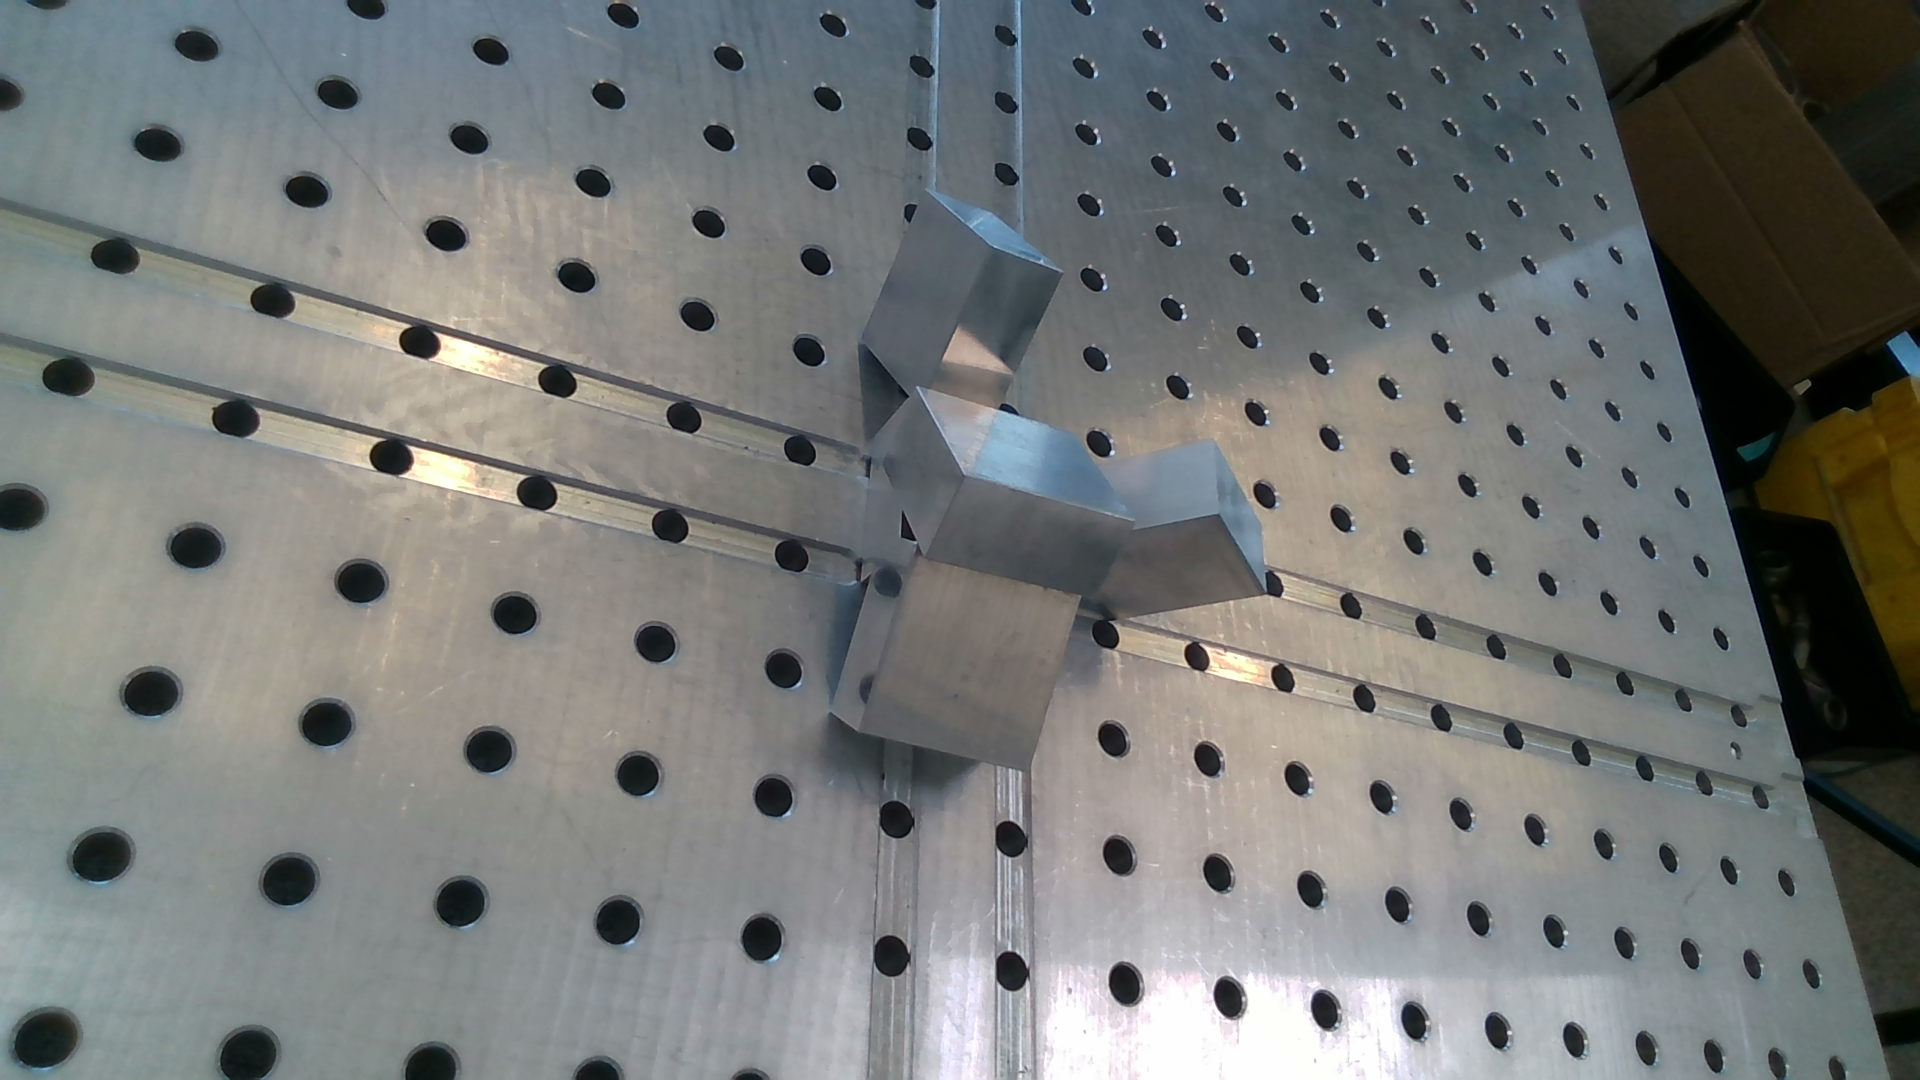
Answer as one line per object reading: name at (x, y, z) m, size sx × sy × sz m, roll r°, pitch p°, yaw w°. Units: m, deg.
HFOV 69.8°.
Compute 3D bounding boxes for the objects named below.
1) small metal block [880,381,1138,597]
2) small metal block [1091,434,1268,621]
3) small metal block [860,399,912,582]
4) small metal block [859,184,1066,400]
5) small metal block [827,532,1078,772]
small metal block at (0.012, -0.014, 0.363) m, size 0.050 × 0.025 × 0.050 m, roll 14°, pitch 26°, yaw -25°
small metal block at (0.058, -0.002, 0.404) m, size 0.050 × 0.050 × 0.025 m, roll 47°, pitch 38°, yaw -51°
small metal block at (0.000, -0.009, 0.401) m, size 0.050 × 0.025 × 0.050 m, roll 17°, pitch 57°, yaw -24°
small metal block at (-0.001, -0.069, 0.403) m, size 0.025 × 0.050 × 0.050 m, roll 12°, pitch 24°, yaw -32°
small metal block at (-0.002, 0.029, 0.365) m, size 0.050 × 0.025 × 0.050 m, roll 17°, pitch 89°, yaw -24°
